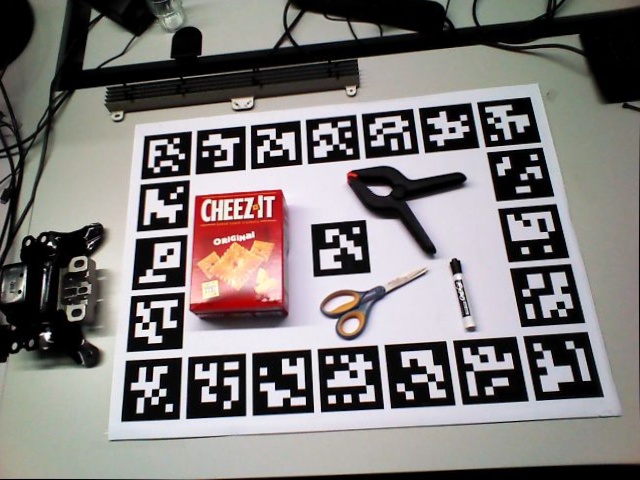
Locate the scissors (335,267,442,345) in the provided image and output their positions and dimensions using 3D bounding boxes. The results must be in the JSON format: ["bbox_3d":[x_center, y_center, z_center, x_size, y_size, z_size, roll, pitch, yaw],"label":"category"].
[{"bbox_3d":[0.121,0.097,0.878,0.202,0.016,0.087,-31,67,-9],"label":"scissors"}]

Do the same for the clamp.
[{"bbox_3d":[0.163,-0.078,0.949,0.203,0.037,0.164,24,72,15],"label":"clamp"}]

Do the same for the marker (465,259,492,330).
[{"bbox_3d":[0.263,0.090,0.863,0.020,0.020,0.120,-8,67,3],"label":"marker"}]

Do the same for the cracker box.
[{"bbox_3d":[-0.116,0.031,0.905,0.165,0.072,0.212,-3,68,5],"label":"cracker box"}]
